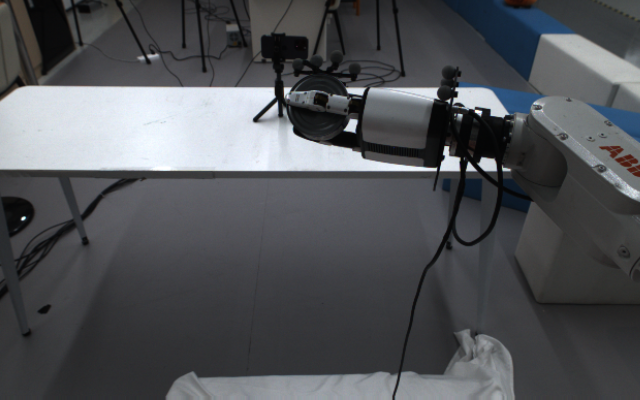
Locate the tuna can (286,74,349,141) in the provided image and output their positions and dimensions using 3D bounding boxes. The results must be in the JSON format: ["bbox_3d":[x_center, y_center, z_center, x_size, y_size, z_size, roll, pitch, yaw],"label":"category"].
[{"bbox_3d":[0.000,-0.127,0.658,0.085,0.085,0.034,11,-5,12],"label":"tuna can"}]
